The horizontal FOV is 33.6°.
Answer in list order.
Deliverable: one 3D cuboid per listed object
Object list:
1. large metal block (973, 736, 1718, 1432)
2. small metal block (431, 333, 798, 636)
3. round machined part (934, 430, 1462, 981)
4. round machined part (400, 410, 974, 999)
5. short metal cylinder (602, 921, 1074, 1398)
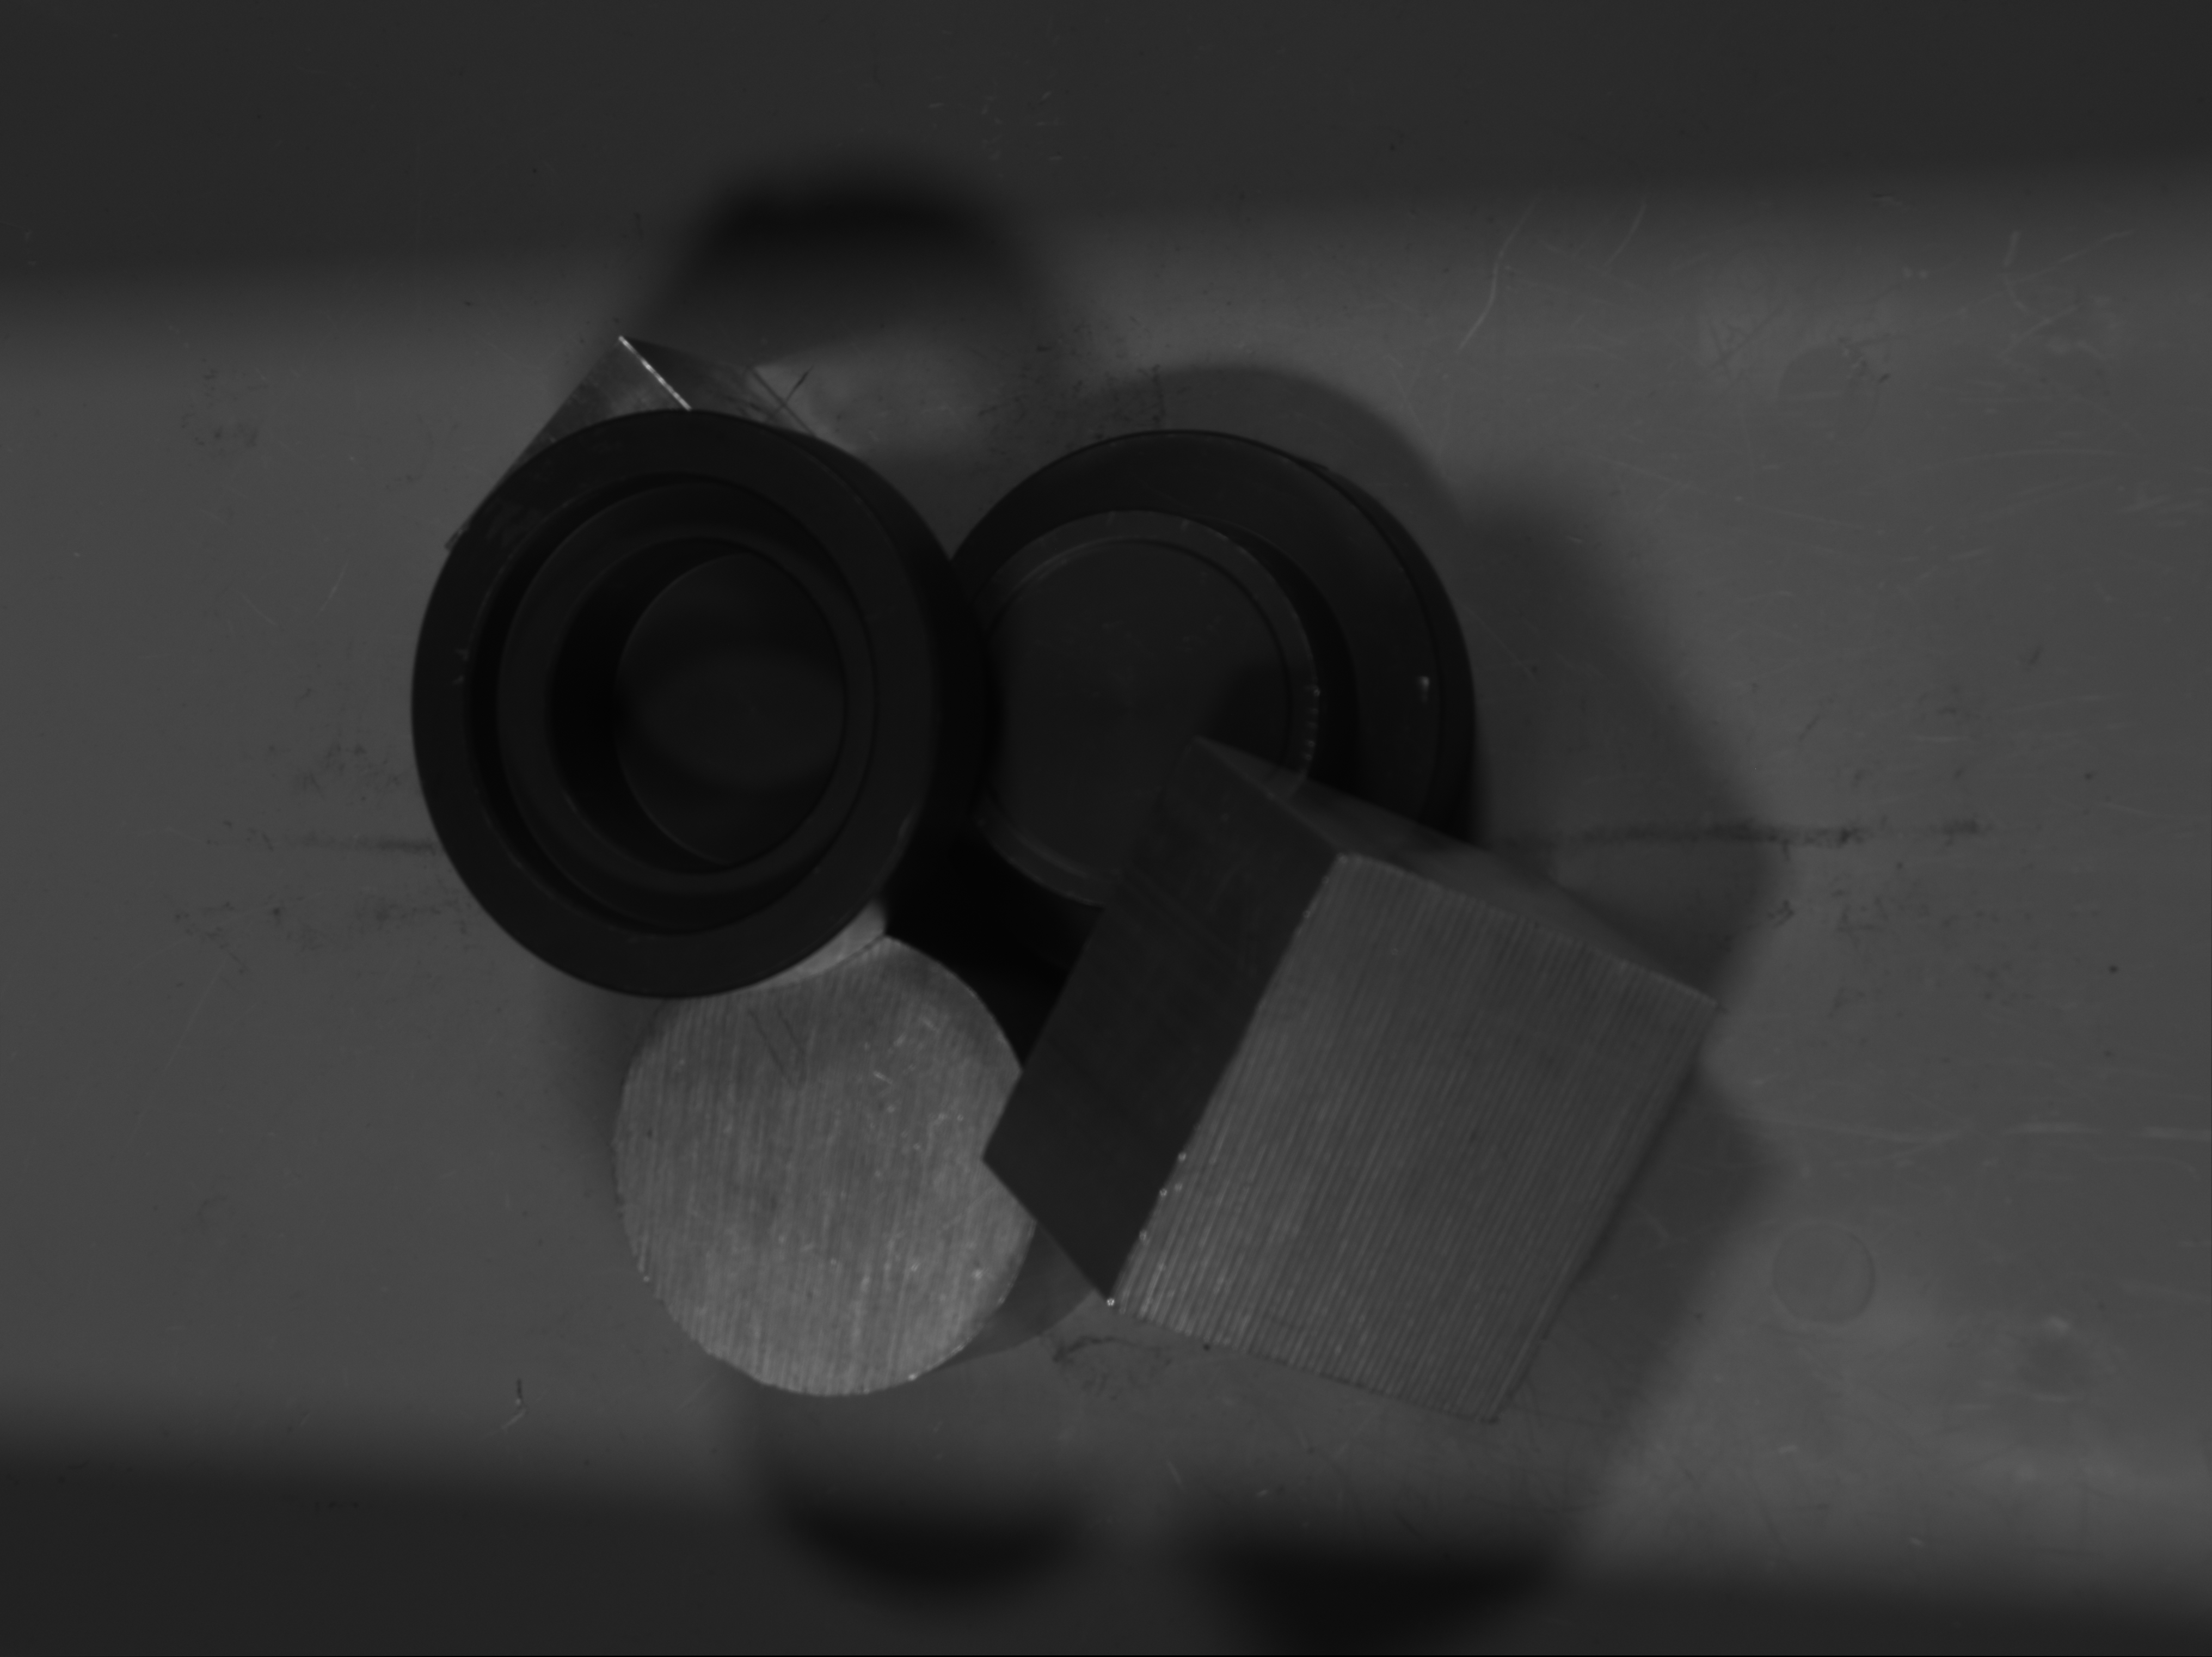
[{"bbox_3d":[0.038,0.042,0.593,0.080,0.080,0.050,-63,32,8],"label":"large metal block"},{"bbox_3d":[-0.086,-0.059,0.660,0.025,0.050,0.050,46,104,14],"label":"small metal block"},{"bbox_3d":[0.009,-0.020,0.629,0.098,0.042,0.098,0,90,20],"label":"round machined part"},{"bbox_3d":[-0.068,-0.021,0.627,0.098,0.042,0.098,0,90,20],"label":"round machined part"},{"bbox_3d":[-0.041,0.057,0.644,0.080,0.050,0.080,0,90,20],"label":"short metal cylinder"}]
